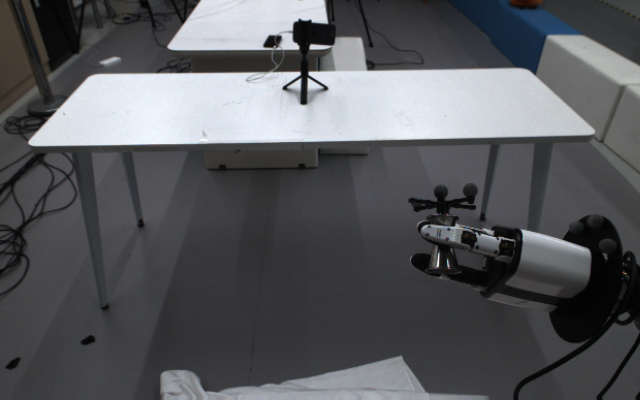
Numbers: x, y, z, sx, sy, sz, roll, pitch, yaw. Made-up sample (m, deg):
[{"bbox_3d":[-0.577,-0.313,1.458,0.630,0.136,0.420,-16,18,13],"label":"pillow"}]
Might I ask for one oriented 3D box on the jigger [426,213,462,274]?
[{"bbox_3d":[0.151,0.053,0.600,0.043,0.043,0.071,3,75,1],"label":"jigger"}]
